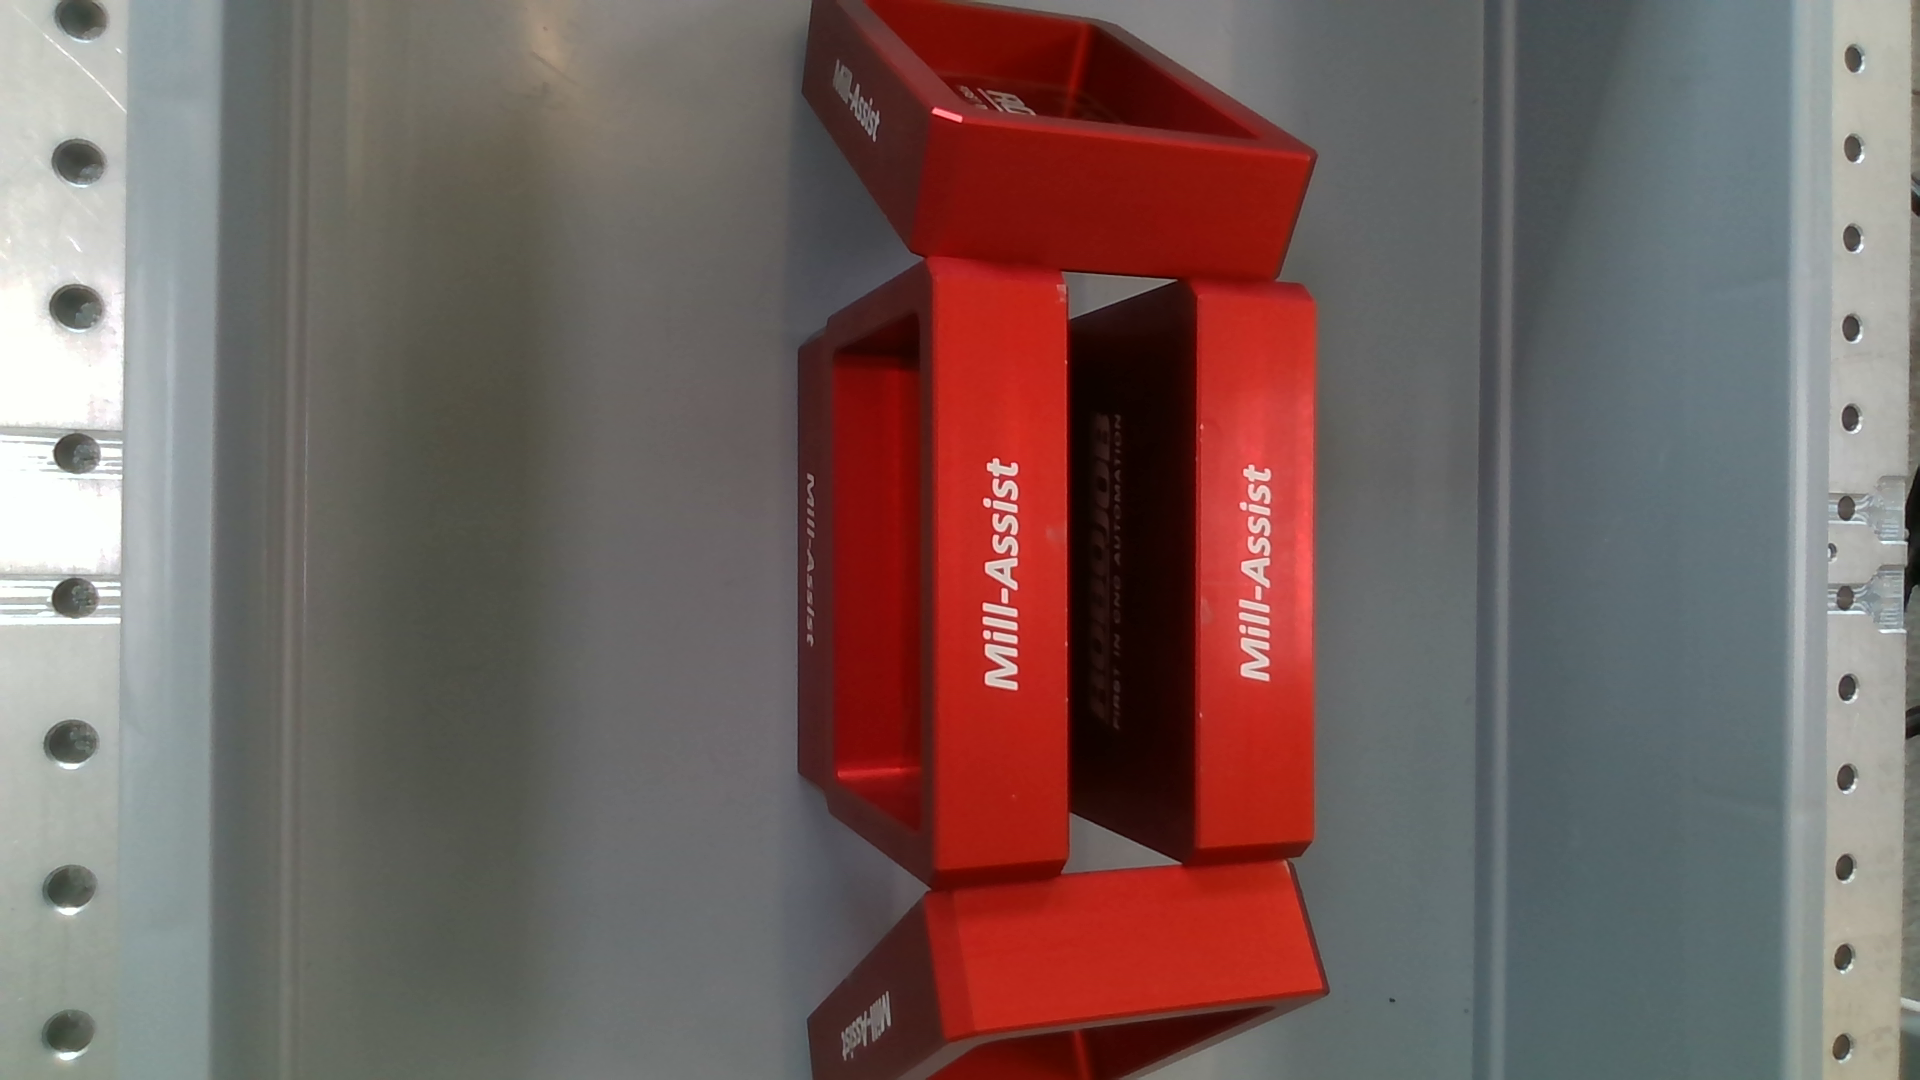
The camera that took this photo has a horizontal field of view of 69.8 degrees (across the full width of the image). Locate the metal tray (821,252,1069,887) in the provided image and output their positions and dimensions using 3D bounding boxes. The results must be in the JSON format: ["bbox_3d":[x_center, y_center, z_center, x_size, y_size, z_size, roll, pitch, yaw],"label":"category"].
[{"bbox_3d":[-0.007,0.006,0.324,0.030,0.090,0.130,0,91,-21],"label":"metal tray"}]

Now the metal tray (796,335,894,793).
[{"bbox_3d":[0.001,0.005,0.391,0.090,0.030,0.130,-1,91,-20],"label":"metal tray"}]

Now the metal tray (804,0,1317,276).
[{"bbox_3d":[0.017,-0.105,0.345,0.090,0.130,0.030,0,122,-20],"label":"metal tray"}]

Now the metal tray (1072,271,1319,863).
[{"bbox_3d":[0.051,0.006,0.344,0.030,0.090,0.130,0,90,-20],"label":"metal tray"}]

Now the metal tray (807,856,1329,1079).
[{"bbox_3d":[0.019,0.116,0.346,0.090,0.130,0.030,0,60,-20],"label":"metal tray"}]
